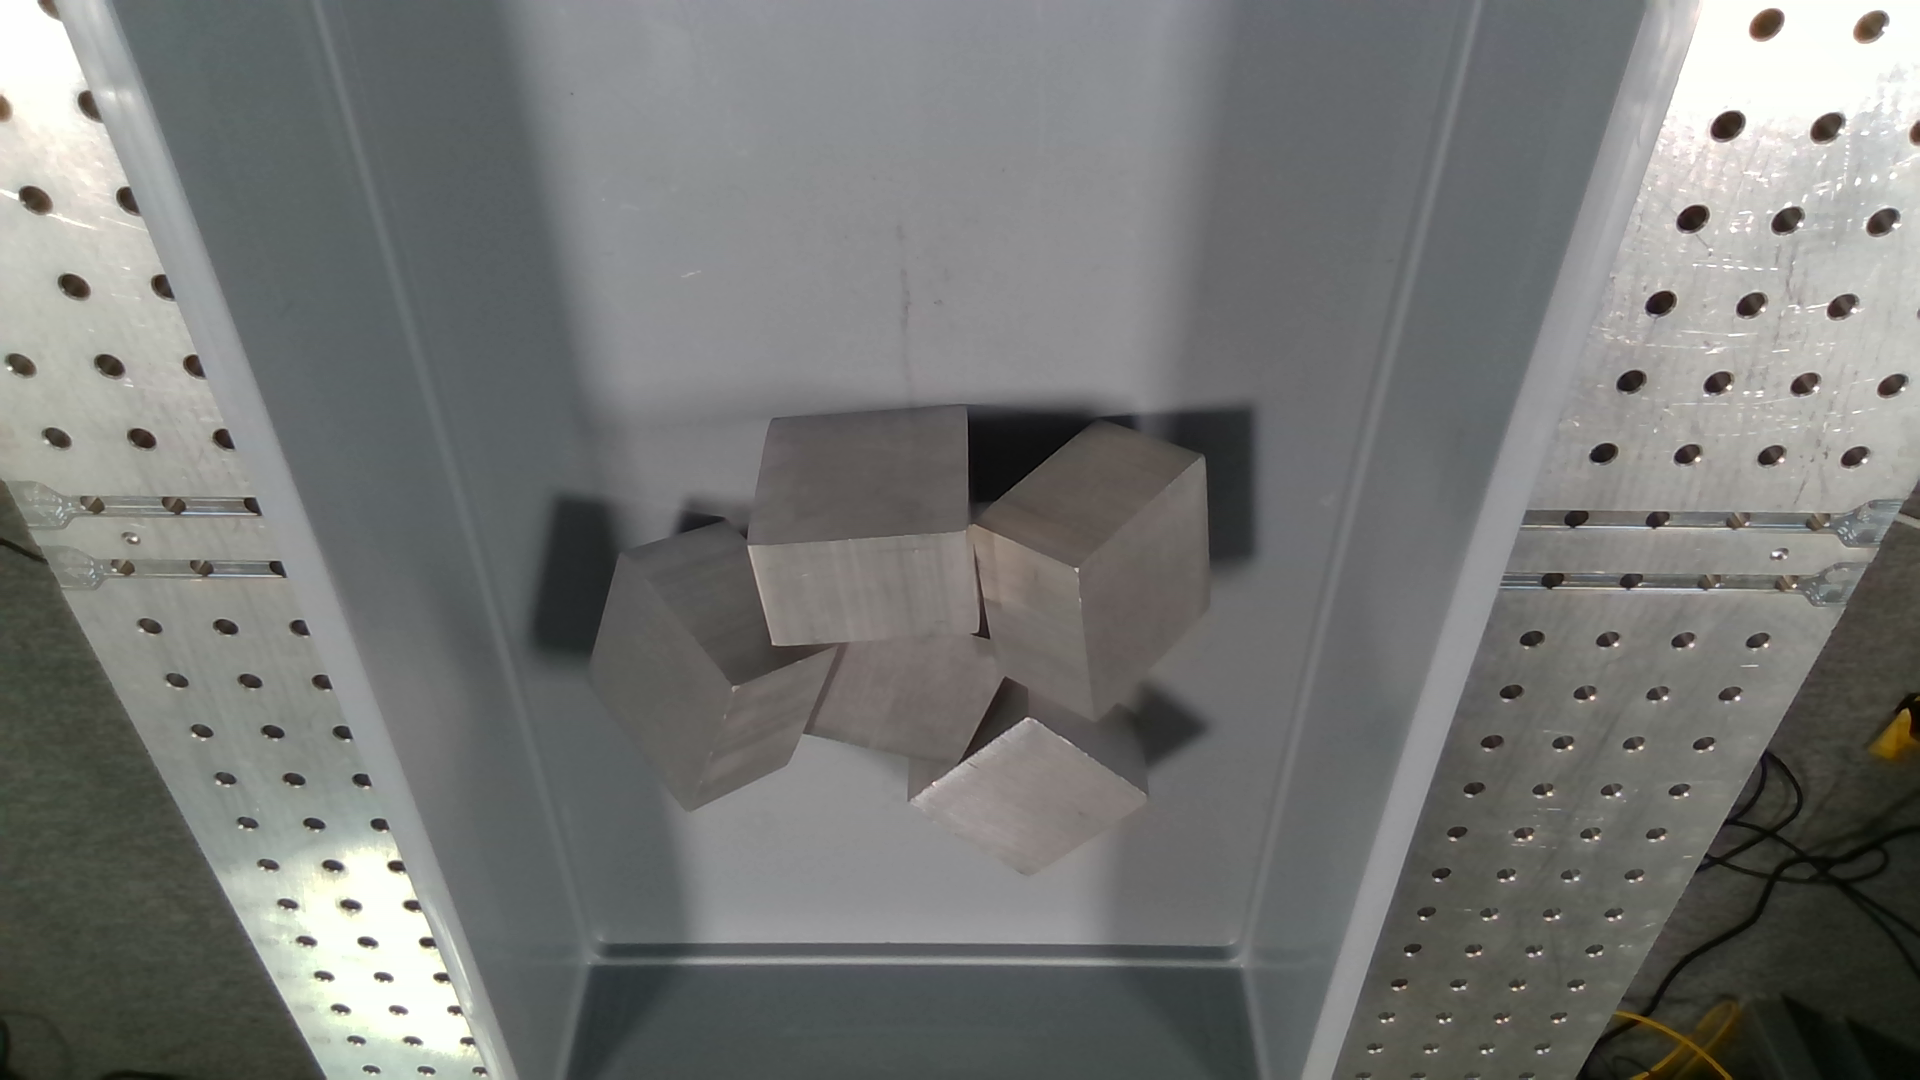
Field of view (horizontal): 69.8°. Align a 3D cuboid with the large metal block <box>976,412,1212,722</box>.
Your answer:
[{"bbox_3d":[0.055,0.009,0.542,0.050,0.080,0.080,25,140,35],"label":"large metal block"}]

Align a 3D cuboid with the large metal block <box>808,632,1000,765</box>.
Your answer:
[{"bbox_3d":[-0.027,0.045,0.601,0.080,0.050,0.080,15,128,-12],"label":"large metal block"}]

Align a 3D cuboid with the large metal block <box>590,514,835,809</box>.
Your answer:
[{"bbox_3d":[-0.105,0.050,0.576,0.050,0.080,0.080,-20,147,-42],"label":"large metal block"}]

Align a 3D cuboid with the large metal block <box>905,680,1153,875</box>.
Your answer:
[{"bbox_3d":[0.031,0.103,0.648,0.080,0.050,0.080,36,121,-26],"label":"large metal block"}]

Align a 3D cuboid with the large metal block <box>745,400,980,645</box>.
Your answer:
[{"bbox_3d":[-0.035,-0.008,0.536,0.080,0.080,0.050,-4,130,4],"label":"large metal block"}]
